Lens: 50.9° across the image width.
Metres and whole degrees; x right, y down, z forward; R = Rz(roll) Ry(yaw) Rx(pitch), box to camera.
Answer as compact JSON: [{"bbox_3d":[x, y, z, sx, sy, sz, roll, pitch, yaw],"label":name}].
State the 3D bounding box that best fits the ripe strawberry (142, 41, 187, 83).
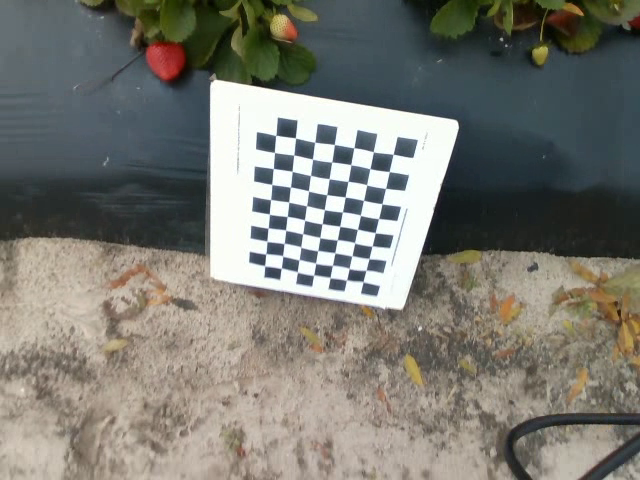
[{"bbox_3d":[-0.143,-0.157,0.593,0.037,0.046,0.036,-22,-15,34],"label":"ripe strawberry"}]
